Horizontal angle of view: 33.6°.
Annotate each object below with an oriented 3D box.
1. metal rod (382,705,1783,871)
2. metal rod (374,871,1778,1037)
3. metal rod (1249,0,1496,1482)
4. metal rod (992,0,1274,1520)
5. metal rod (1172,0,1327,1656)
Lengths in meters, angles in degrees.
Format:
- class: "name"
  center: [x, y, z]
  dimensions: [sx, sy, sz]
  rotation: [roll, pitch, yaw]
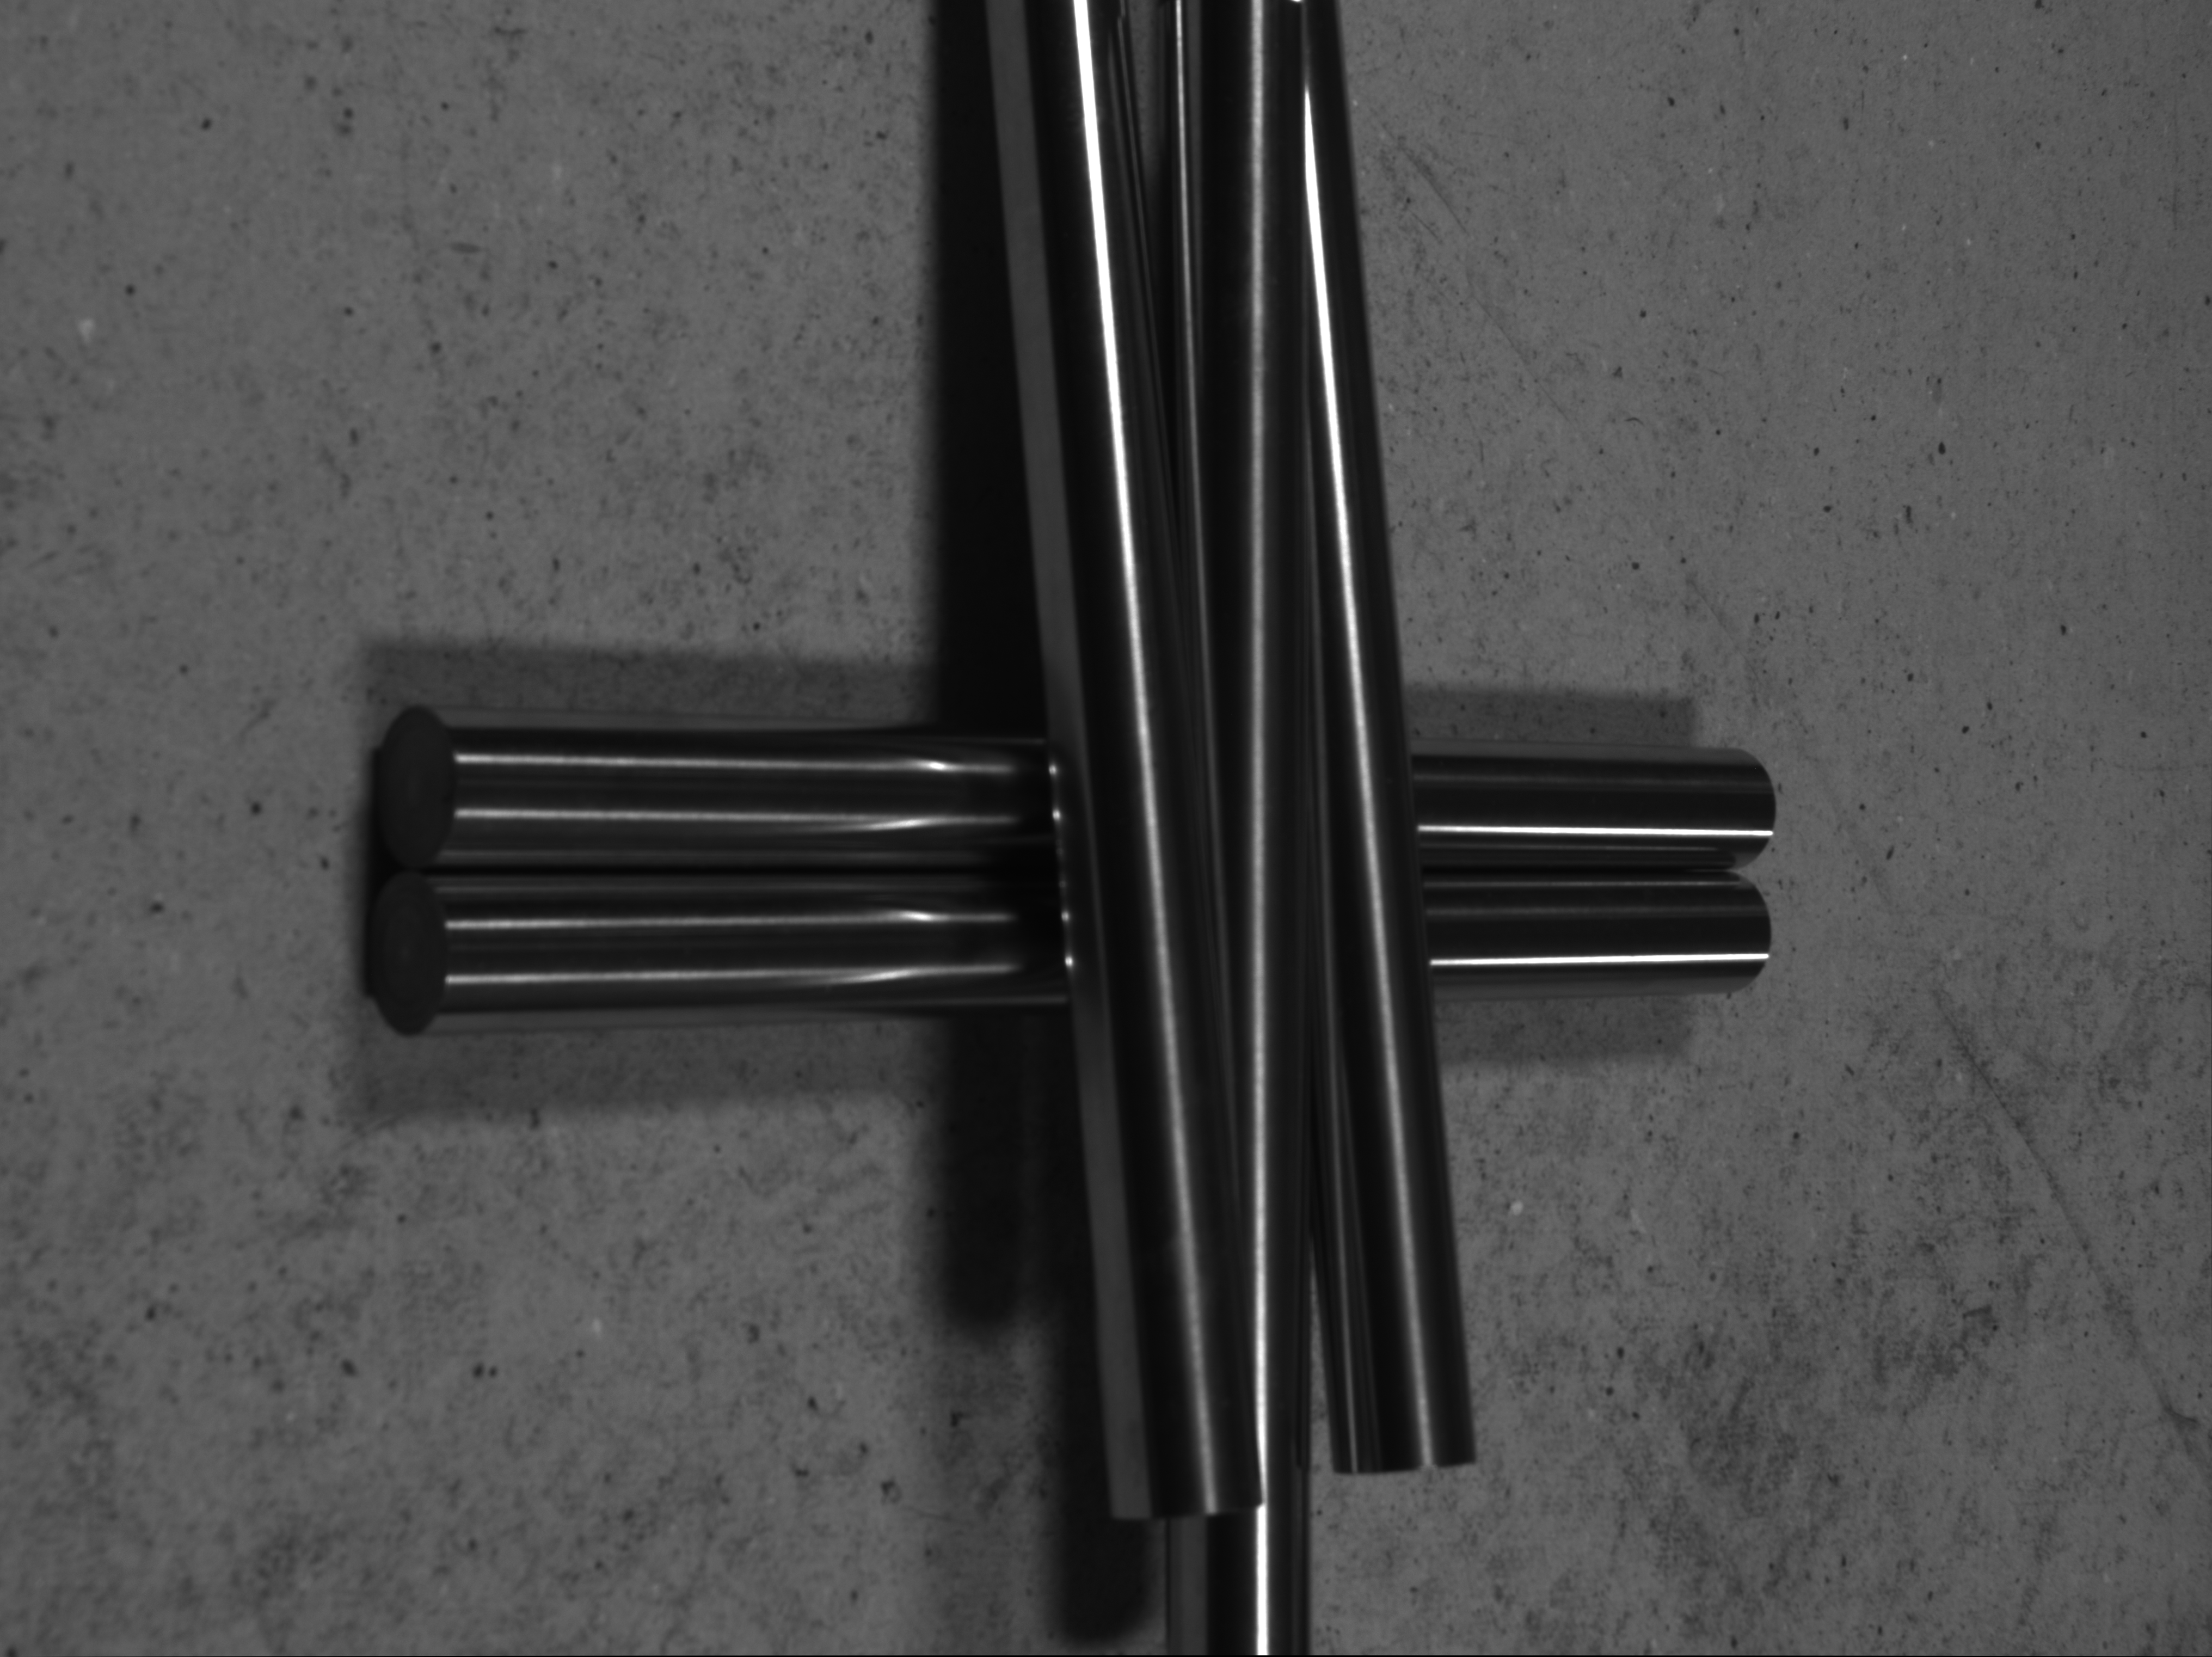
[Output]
- class: "metal rod"
  center: [0.012, -0.005, 0.649]
  dimensions: [0.301, 0.025, 0.025]
  rotation: [1, 90, -40]
- class: "metal rod"
  center: [0.011, 0.020, 0.648]
  dimensions: [0.301, 0.025, 0.025]
  rotation: [1, 90, -40]
- class: "metal rod"
  center: [0.042, -0.038, 0.644]
  dimensions: [0.025, 0.025, 0.300]
  rotation: [1, 82, -40]
- class: "metal rod"
  center: [0.002, -0.037, 0.612]
  dimensions: [0.025, 0.025, 0.300]
  rotation: [1, 82, -40]
- class: "metal rod"
  center: [0.024, 0.010, 0.625]
  dimensions: [0.025, 0.025, 0.300]
  rotation: [0, 90, -40]
